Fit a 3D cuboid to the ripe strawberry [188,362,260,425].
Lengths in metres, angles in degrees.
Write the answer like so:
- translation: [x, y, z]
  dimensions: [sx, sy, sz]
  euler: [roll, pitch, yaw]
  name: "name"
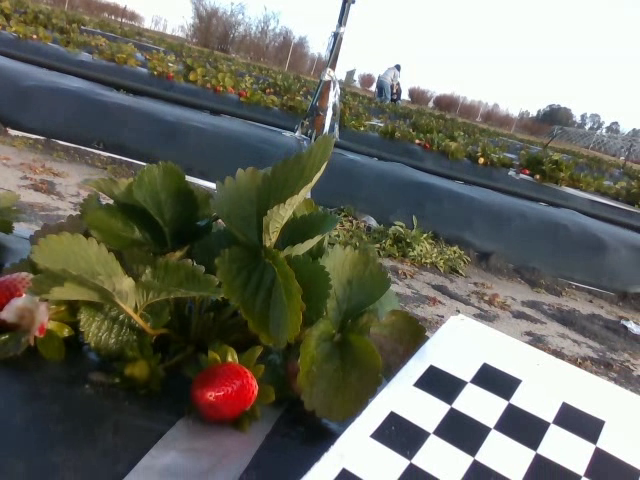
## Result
- translation: [-0.052, 0.078, 0.315]
  dimensions: [0.050, 0.036, 0.055]
  euler: [27, 17, 18]
  name: "ripe strawberry"
